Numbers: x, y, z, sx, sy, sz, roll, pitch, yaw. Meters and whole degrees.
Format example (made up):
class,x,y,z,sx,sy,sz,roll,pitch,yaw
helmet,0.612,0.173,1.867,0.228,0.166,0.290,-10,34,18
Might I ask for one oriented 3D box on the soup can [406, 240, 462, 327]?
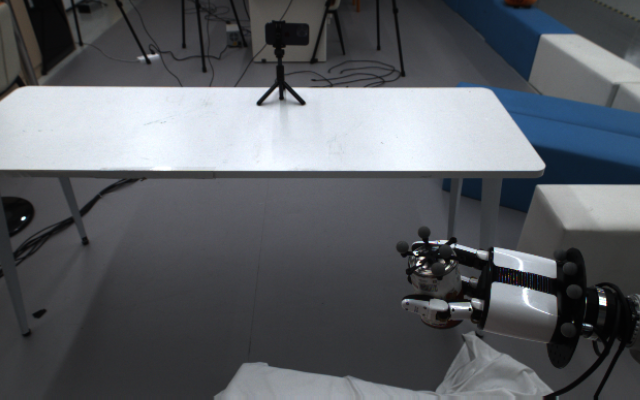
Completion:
class,x,y,z,sx,sy,sz,roll,pitch,yaw
soup can,0.166,0.119,0.674,0.067,0.101,0.067,-13,31,8
